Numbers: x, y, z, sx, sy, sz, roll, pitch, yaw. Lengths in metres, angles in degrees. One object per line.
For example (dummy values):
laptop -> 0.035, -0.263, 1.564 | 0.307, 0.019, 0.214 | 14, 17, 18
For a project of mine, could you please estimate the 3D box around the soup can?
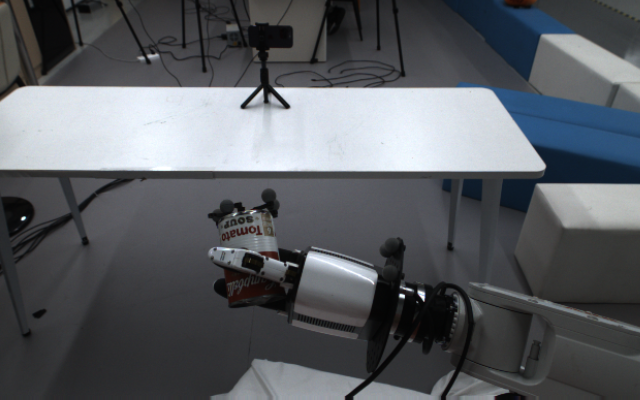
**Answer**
soup can -> -0.079, 0.070, 0.568 | 0.067, 0.067, 0.101 | -8, 74, -14
